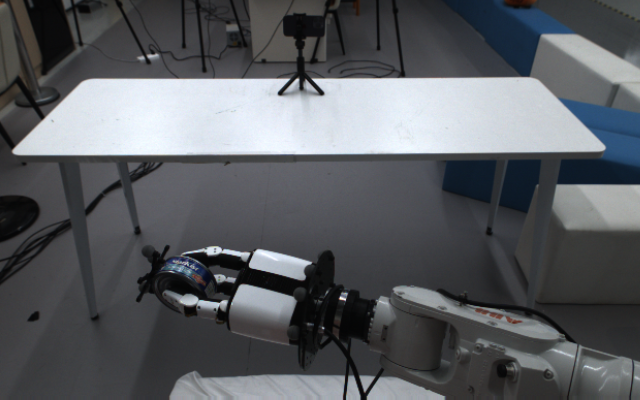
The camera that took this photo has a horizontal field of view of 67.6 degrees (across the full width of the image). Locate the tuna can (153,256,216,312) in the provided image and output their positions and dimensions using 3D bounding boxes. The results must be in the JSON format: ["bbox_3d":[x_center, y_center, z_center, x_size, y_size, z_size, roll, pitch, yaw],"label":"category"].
[{"bbox_3d":[-0.188,0.125,0.679,0.085,0.085,0.034,9,37,10],"label":"tuna can"}]
